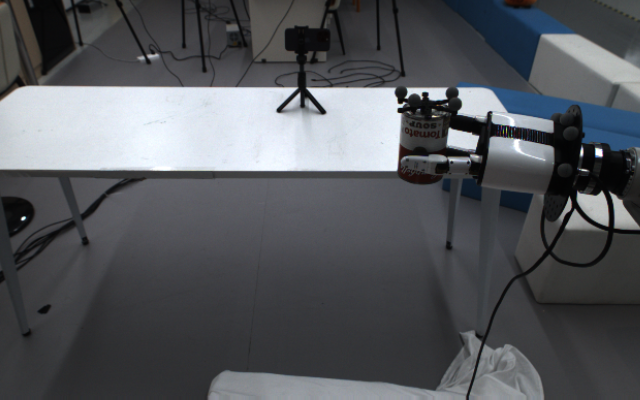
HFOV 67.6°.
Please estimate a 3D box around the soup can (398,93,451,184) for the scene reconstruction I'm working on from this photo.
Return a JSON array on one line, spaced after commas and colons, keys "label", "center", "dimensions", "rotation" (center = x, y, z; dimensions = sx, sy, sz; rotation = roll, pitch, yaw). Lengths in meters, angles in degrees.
[{"label": "soup can", "center": [0.147, -0.084, 0.688], "dimensions": [0.067, 0.101, 0.067], "rotation": [-2, 34, 1]}]
